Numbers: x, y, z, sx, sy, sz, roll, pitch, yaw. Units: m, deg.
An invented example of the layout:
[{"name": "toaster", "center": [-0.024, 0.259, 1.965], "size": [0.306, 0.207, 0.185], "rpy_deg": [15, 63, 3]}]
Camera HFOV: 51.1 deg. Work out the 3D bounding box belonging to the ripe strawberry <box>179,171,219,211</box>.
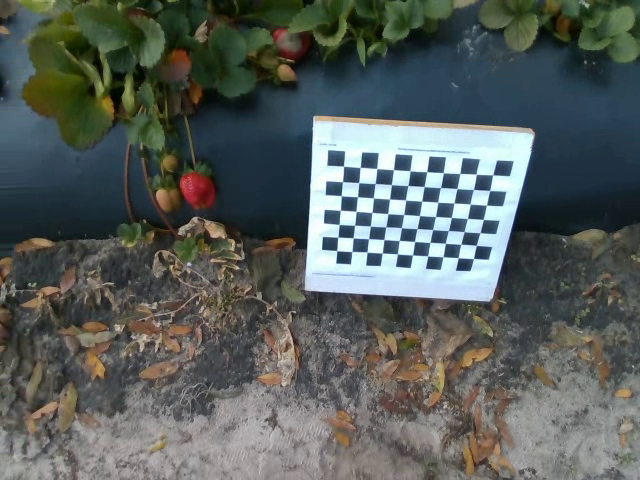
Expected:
[{"name": "ripe strawberry", "center": [-0.191, -0.073, 1.009], "size": [0.066, 0.075, 0.053], "rpy_deg": [-13, 32, 8]}]
